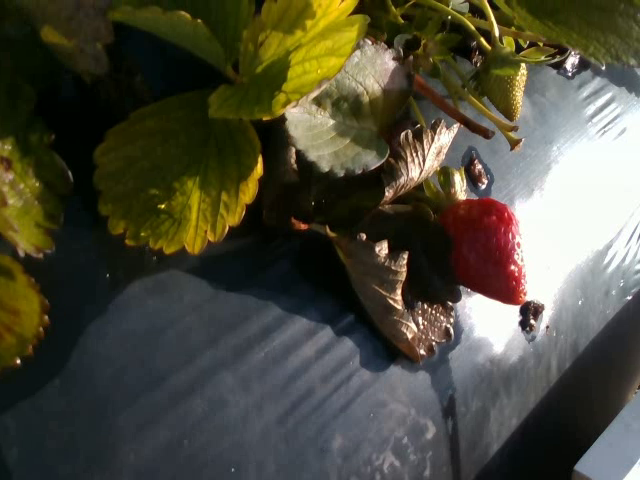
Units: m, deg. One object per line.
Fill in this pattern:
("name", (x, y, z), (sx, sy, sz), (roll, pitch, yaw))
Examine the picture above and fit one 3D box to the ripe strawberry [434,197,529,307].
("ripe strawberry", (0.063, 0.011, 0.217), (0.046, 0.054, 0.037), (-4, -25, -46))
